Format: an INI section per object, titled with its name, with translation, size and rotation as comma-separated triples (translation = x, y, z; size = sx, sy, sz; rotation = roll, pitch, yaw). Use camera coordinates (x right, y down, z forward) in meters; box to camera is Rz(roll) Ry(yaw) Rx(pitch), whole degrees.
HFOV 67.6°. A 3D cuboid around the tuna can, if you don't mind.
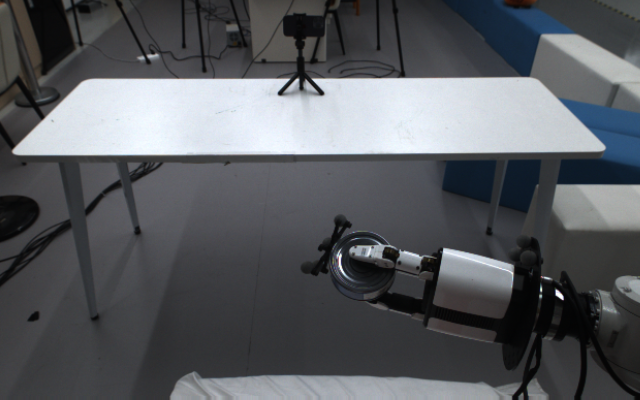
[tuna can]
translation = 0.058, 0.082, 0.620
size = 0.085, 0.034, 0.085
rotation = -1, 61, 1
